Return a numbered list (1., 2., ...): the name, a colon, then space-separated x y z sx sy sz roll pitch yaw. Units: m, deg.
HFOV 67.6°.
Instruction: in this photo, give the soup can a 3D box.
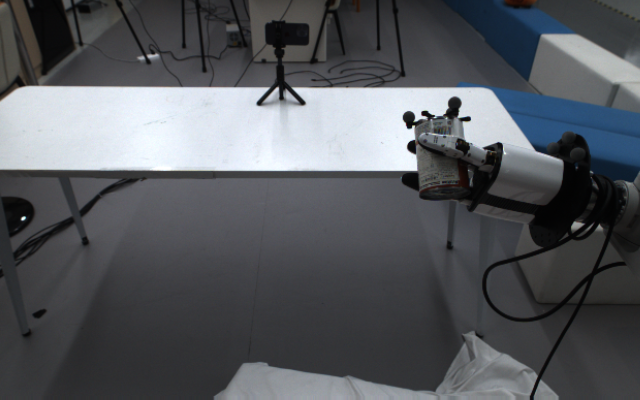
1. soup can: 0.169 -0.057 0.666 0.067 0.067 0.101 -2 76 -5
